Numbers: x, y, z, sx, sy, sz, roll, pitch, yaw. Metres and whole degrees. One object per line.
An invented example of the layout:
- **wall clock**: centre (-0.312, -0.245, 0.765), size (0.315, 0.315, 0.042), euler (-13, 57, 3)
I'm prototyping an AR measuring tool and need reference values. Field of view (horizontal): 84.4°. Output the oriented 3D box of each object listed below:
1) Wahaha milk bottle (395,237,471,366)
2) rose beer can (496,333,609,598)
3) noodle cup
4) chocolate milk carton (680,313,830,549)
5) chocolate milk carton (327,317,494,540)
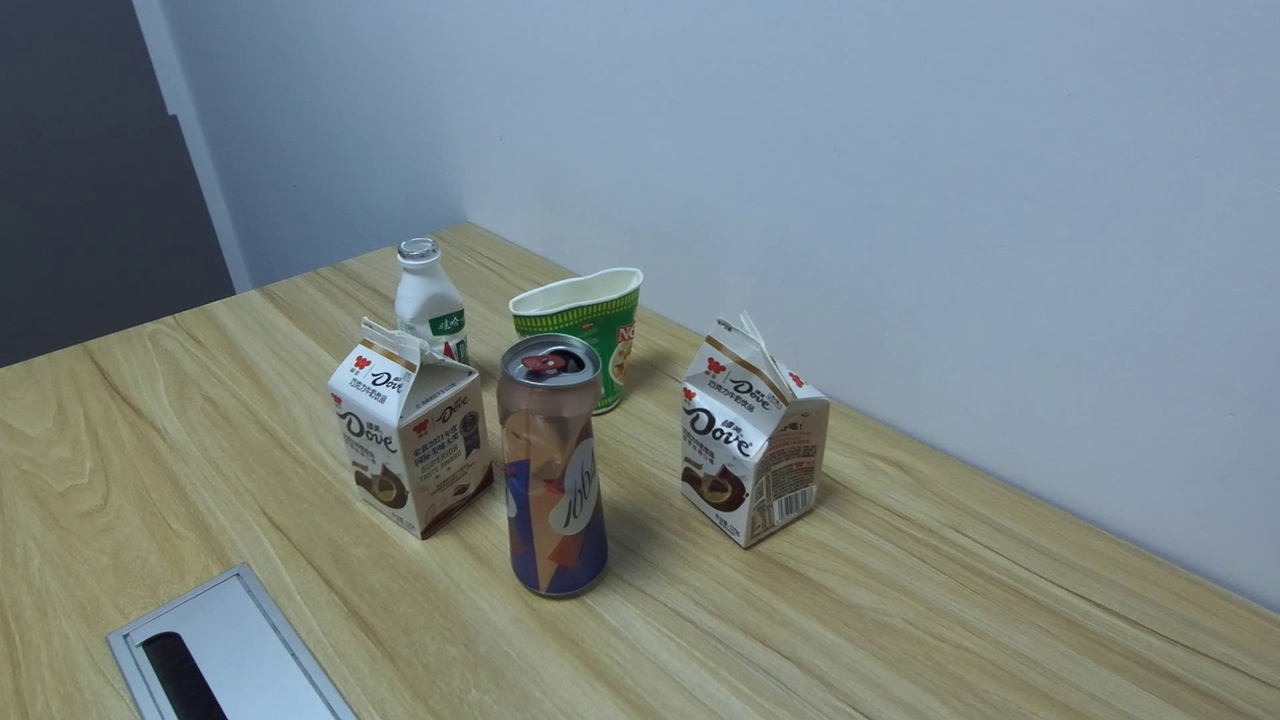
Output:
- **Wahaha milk bottle**: centre (-0.177, -0.031, 0.601), size (0.056, 0.148, 0.056), euler (2, 35, -1)
- **rose beer can**: centre (-0.051, 0.070, 0.438), size (0.065, 0.167, 0.076), euler (14, 32, 17)
- **noodle cup**: centre (-0.050, -0.014, 0.613), size (0.115, 0.111, 0.070), euler (-6, 33, -8)
- **chocolate milk carton**: centre (0.078, 0.042, 0.484), size (0.074, 0.156, 0.076), euler (-23, 41, -28)
- **chocolate milk carton**: centre (-0.160, 0.039, 0.495), size (0.075, 0.148, 0.074), euler (23, 41, 28)
